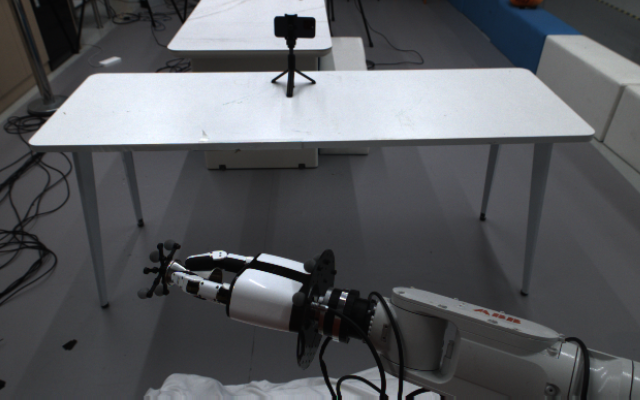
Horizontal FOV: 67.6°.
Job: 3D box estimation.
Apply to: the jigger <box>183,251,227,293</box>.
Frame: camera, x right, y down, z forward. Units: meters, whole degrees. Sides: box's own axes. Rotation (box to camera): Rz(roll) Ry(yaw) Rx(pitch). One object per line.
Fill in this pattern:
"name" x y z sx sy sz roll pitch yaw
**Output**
"jigger" -0.174 0.107 0.688 0.071 0.043 0.043 10 35 16
